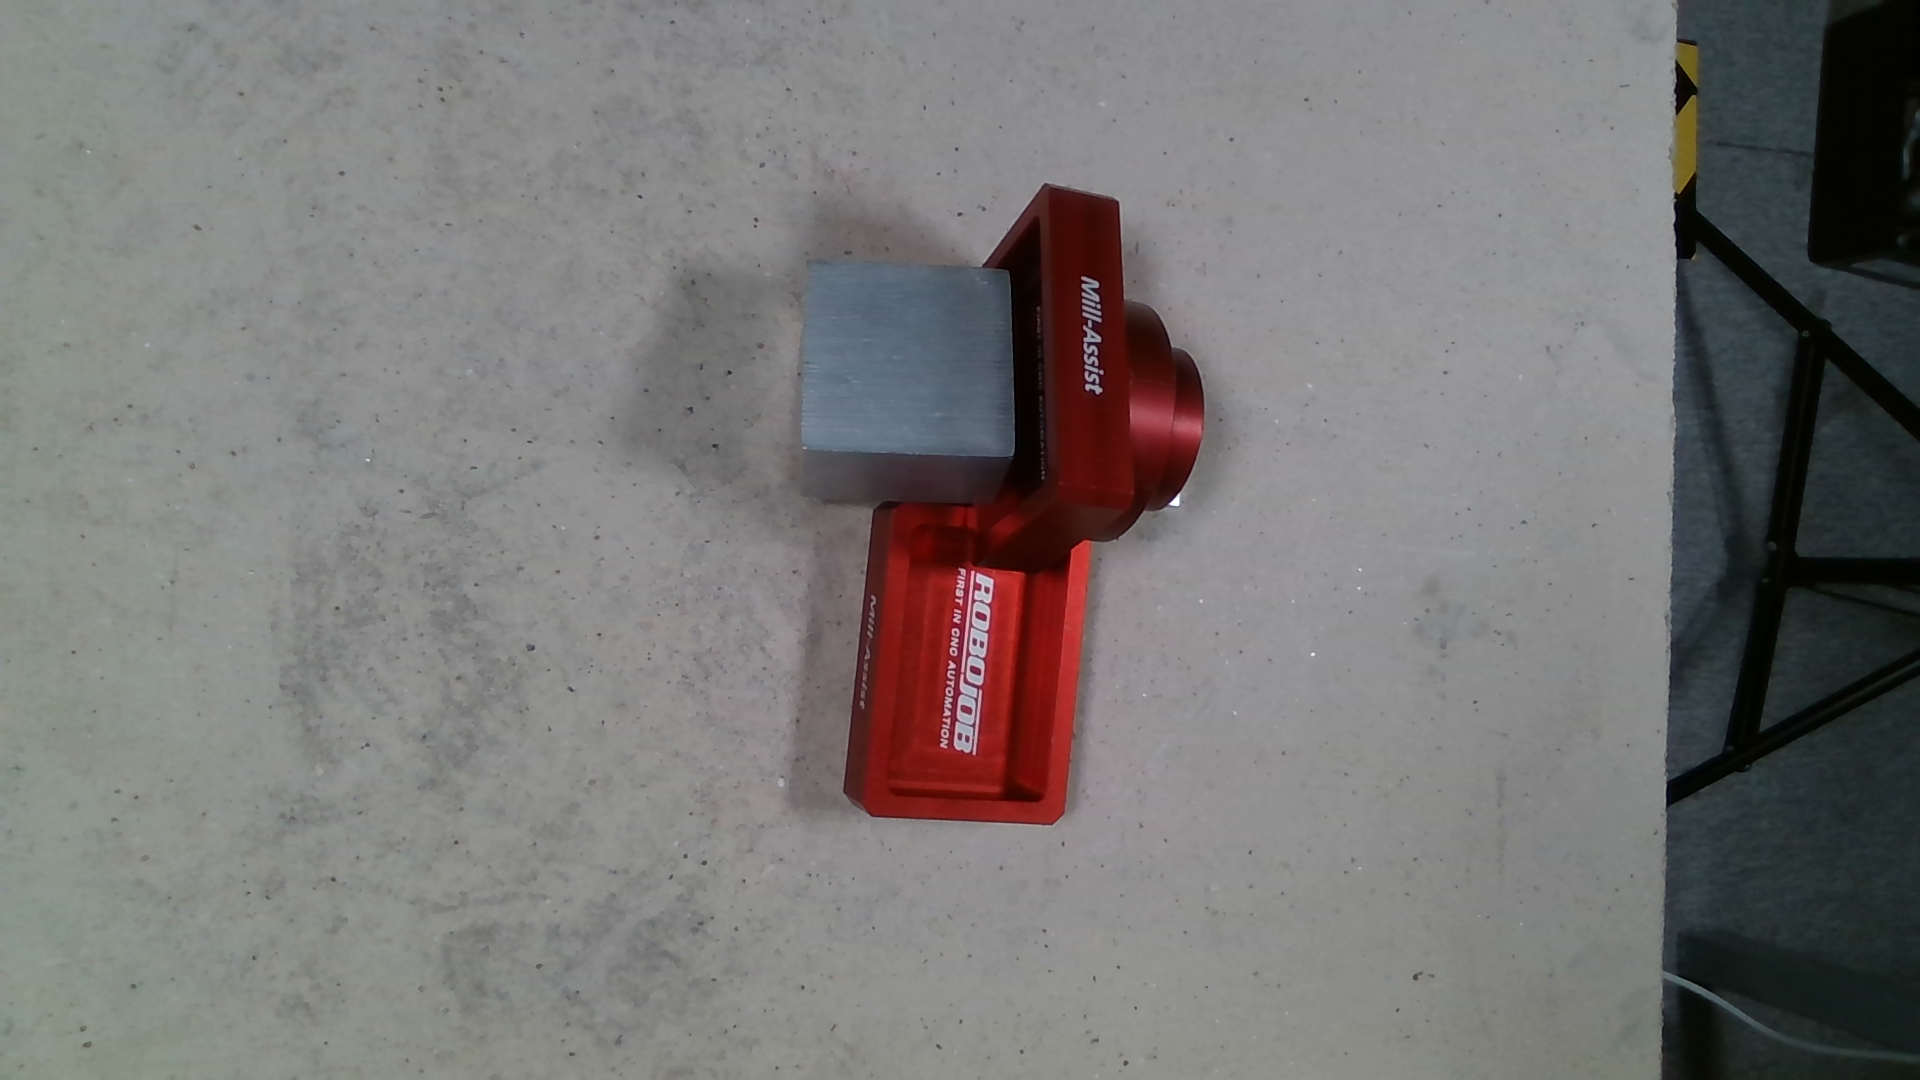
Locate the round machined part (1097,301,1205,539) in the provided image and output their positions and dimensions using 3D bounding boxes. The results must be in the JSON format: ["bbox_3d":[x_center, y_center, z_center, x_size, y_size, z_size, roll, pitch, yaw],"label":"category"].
[{"bbox_3d":[0.064,-0.048,0.559,0.042,0.098,0.098,6,88,-20],"label":"round machined part"}]

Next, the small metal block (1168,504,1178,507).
[{"bbox_3d":[0.071,-0.042,0.613,0.050,0.025,0.050,7,88,-20],"label":"small metal block"}]

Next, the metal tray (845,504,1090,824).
[{"bbox_3d":[0.003,0.052,0.585,0.090,0.030,0.130,7,88,-20],"label":"metal tray"}]

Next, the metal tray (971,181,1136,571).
[{"bbox_3d":[0.033,-0.062,0.545,0.030,0.090,0.130,7,69,-20],"label":"metal tray"}]

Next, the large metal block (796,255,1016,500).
[{"bbox_3d":[-0.023,-0.062,0.544,0.080,0.050,0.080,2,71,-8],"label":"large metal block"}]
